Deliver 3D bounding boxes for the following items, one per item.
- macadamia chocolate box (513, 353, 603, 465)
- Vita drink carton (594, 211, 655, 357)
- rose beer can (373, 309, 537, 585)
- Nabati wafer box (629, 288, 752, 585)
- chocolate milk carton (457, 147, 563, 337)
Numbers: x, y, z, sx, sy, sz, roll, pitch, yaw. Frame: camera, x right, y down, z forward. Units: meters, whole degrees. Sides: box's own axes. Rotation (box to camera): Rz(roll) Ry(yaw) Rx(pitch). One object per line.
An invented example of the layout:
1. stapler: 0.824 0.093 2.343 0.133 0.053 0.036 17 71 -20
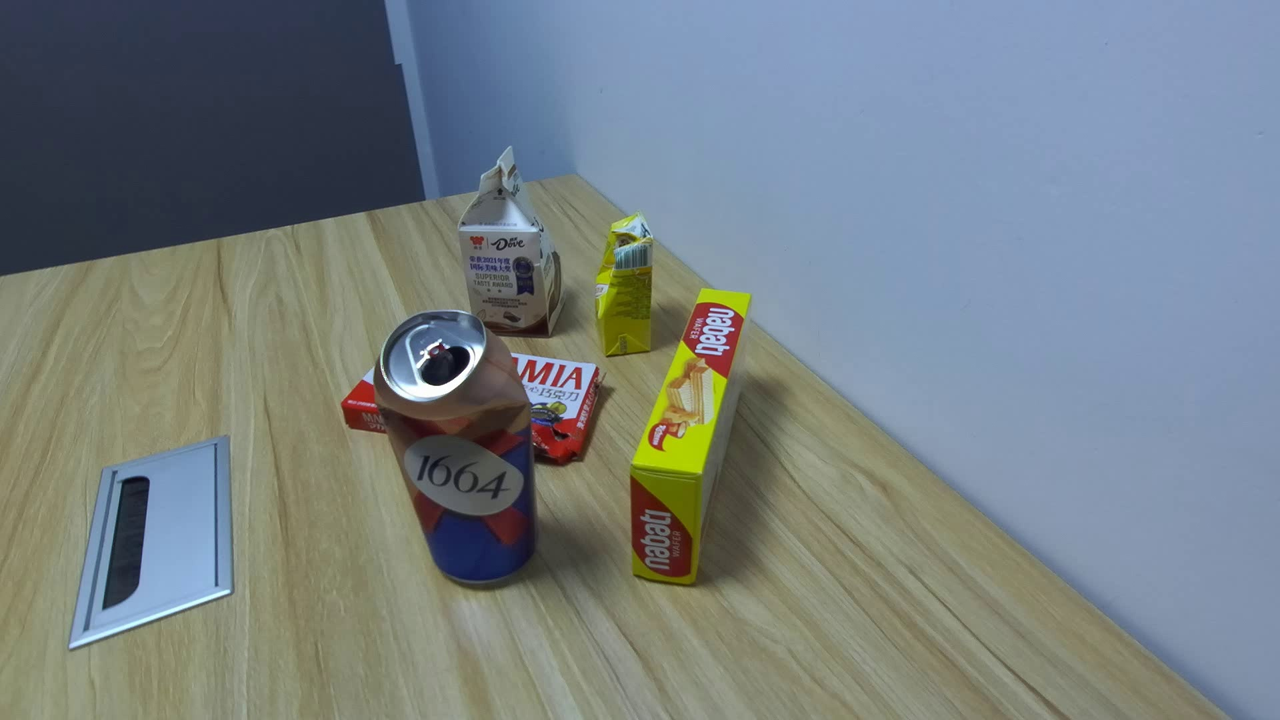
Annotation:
1. macadamia chocolate box: -0.125 0.031 0.552 0.186 0.027 0.103 8 38 12
2. Vita drink carton: -0.015 -0.066 0.610 0.046 0.110 0.071 -5 33 -9
3. rose beer can: -0.098 0.053 0.398 0.069 0.168 0.069 -23 44 -24
4. Nabati wafer box: 0.038 0.040 0.472 0.042 0.093 0.203 8 36 13
5. chocolate milk carton: -0.113 -0.105 0.632 0.073 0.155 0.084 4 34 7
